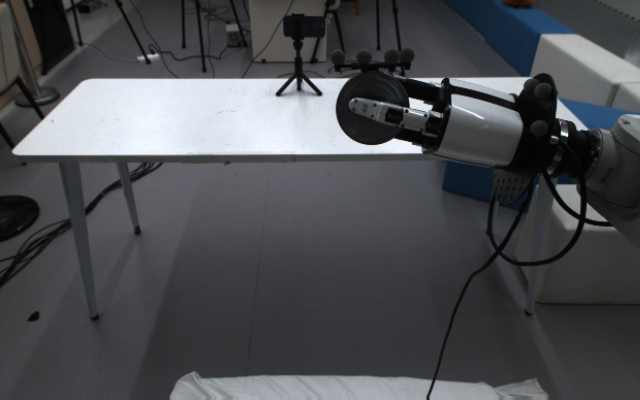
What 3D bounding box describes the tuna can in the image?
[{"bbox_3d":[0.064,-0.112,0.580,0.085,0.085,0.034,4,18,3],"label":"tuna can"}]
